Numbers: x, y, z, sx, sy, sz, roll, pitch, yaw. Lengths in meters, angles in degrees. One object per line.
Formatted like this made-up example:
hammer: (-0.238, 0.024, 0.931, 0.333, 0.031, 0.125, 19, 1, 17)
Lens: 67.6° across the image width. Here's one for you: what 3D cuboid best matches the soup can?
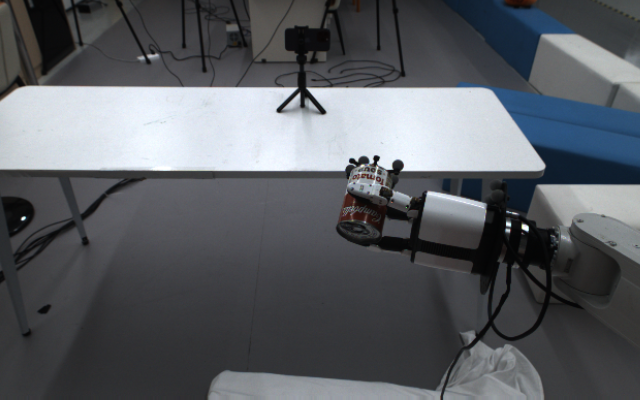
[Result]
soup can: (0.069, 0.004, 0.721, 0.067, 0.067, 0.101, 9, 60, 10)
